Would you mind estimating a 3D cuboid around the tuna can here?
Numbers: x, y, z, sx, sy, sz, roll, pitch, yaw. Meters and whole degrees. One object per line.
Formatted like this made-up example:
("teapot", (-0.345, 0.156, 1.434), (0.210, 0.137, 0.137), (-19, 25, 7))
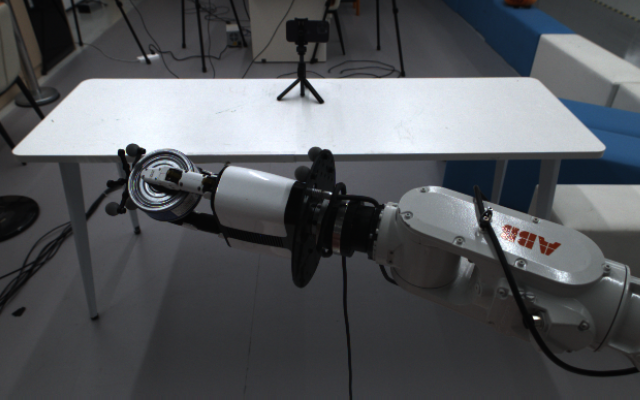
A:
("tuna can", (-0.187, -0.019, 0.593), (0.085, 0.034, 0.085), (-2, 69, 7))
